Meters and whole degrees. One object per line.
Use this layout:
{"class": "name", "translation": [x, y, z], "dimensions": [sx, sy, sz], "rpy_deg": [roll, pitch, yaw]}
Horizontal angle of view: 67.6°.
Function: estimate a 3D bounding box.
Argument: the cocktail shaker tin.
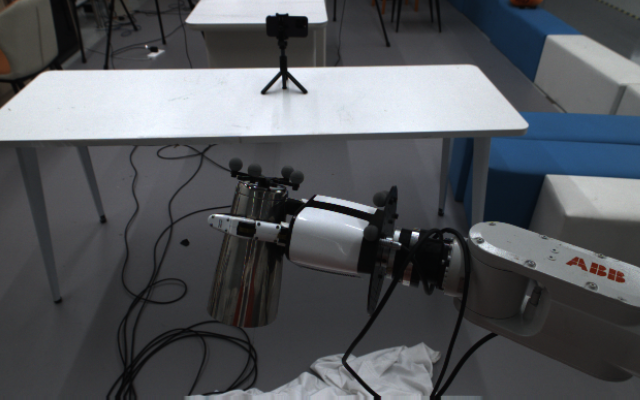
{"class": "cocktail shaker tin", "translation": [-0.083, 0.062, 0.621], "dimensions": [0.093, 0.170, 0.093], "rpy_deg": [10, 9, -2]}
